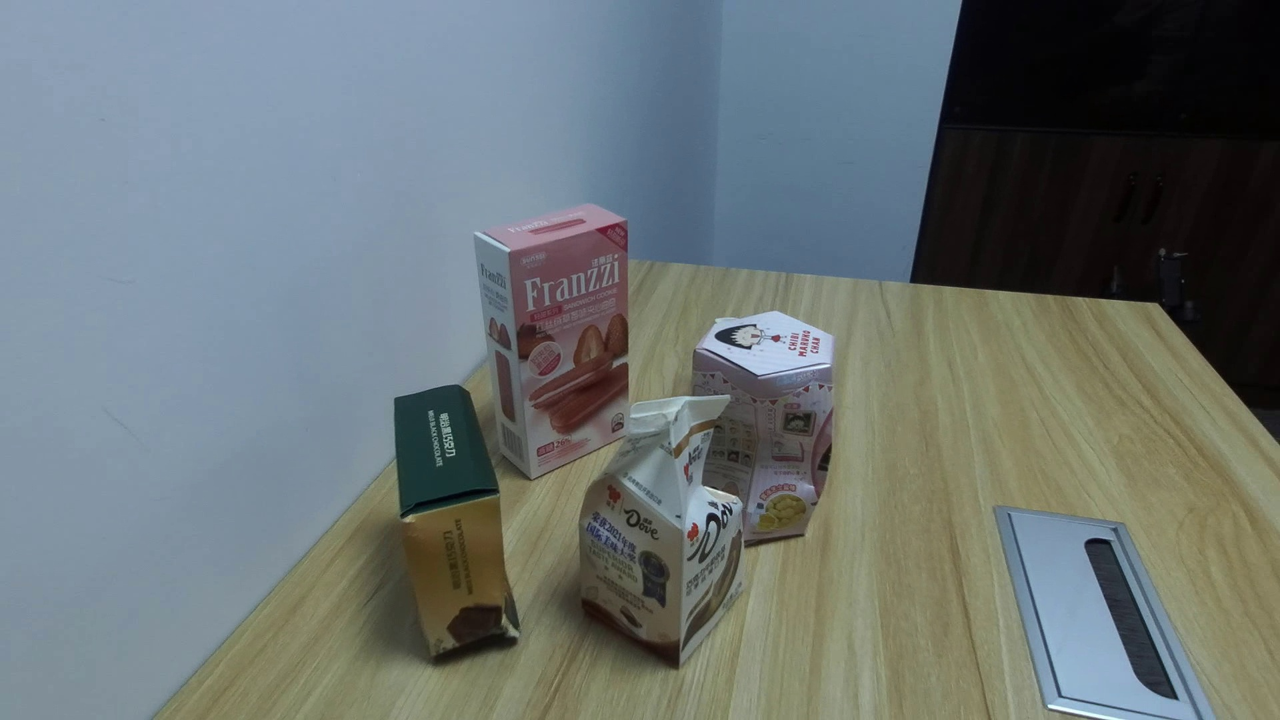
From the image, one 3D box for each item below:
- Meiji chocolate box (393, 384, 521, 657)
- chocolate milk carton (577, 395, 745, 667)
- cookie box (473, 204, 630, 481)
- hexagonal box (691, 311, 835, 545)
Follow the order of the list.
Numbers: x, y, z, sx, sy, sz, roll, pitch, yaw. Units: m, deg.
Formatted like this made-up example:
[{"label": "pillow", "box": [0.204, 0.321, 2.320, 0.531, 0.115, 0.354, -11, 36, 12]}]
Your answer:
[{"label": "Meiji chocolate box", "box": [-0.112, 0.091, 0.413, 0.059, 0.116, 0.122, -9, 31, -17]}, {"label": "chocolate milk carton", "box": [0.015, 0.079, 0.387, 0.073, 0.156, 0.076, 21, 36, 31]}, {"label": "cookie box", "box": [-0.059, -0.012, 0.522, 0.096, 0.185, 0.048, -23, 39, -33]}, {"label": "hexagonal box", "box": [0.079, 0.047, 0.461, 0.093, 0.135, 0.088, -10, 31, -18]}]
